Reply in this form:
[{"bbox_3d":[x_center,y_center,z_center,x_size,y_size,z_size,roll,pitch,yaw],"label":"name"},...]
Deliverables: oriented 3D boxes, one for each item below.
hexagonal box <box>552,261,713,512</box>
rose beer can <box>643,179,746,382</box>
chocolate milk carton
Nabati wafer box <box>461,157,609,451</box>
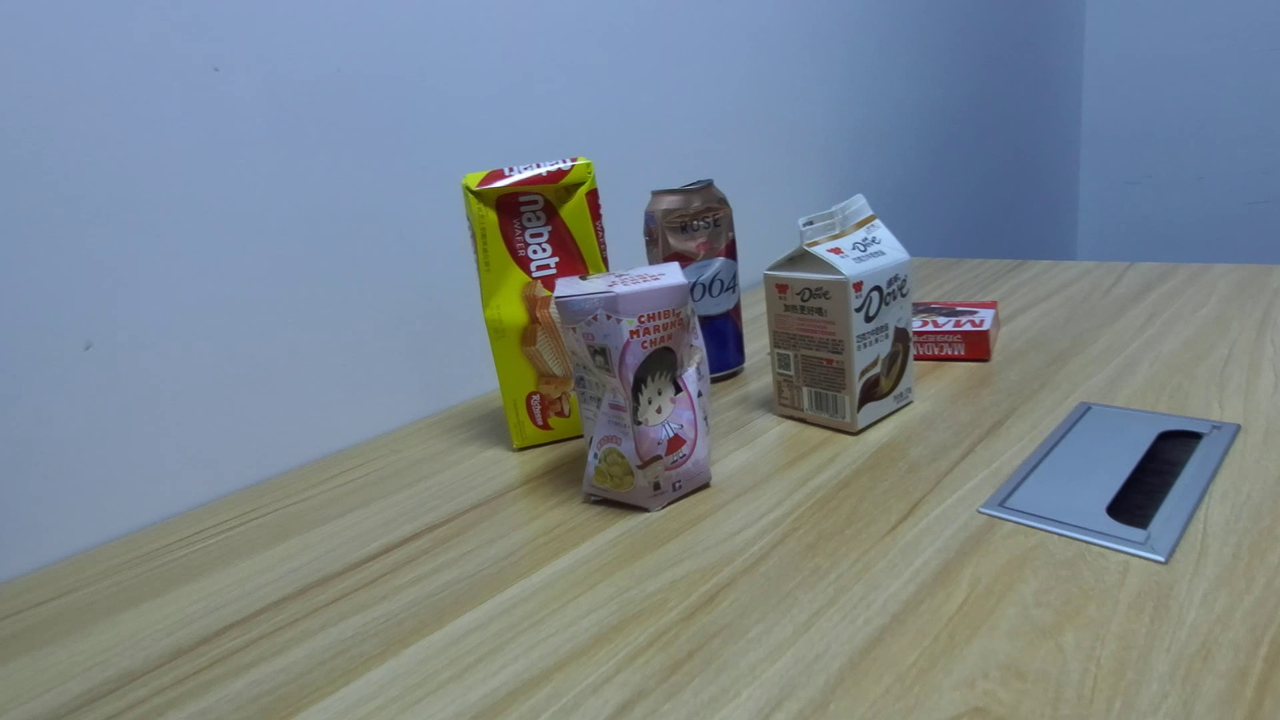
[{"bbox_3d":[-0.006,0.015,0.433,0.093,0.135,0.089,0,19,24],"label":"hexagonal box"},{"bbox_3d":[0.050,-0.067,0.612,0.076,0.167,0.065,-13,17,-4],"label":"rose beer can"},{"bbox_3d":[0.139,-0.036,0.491,0.076,0.148,0.073,-21,21,-35],"label":"chocolate milk carton"},{"bbox_3d":[-0.066,-0.040,0.525,0.096,0.203,0.042,-9,15,-7],"label":"Nabati wafer box"}]
